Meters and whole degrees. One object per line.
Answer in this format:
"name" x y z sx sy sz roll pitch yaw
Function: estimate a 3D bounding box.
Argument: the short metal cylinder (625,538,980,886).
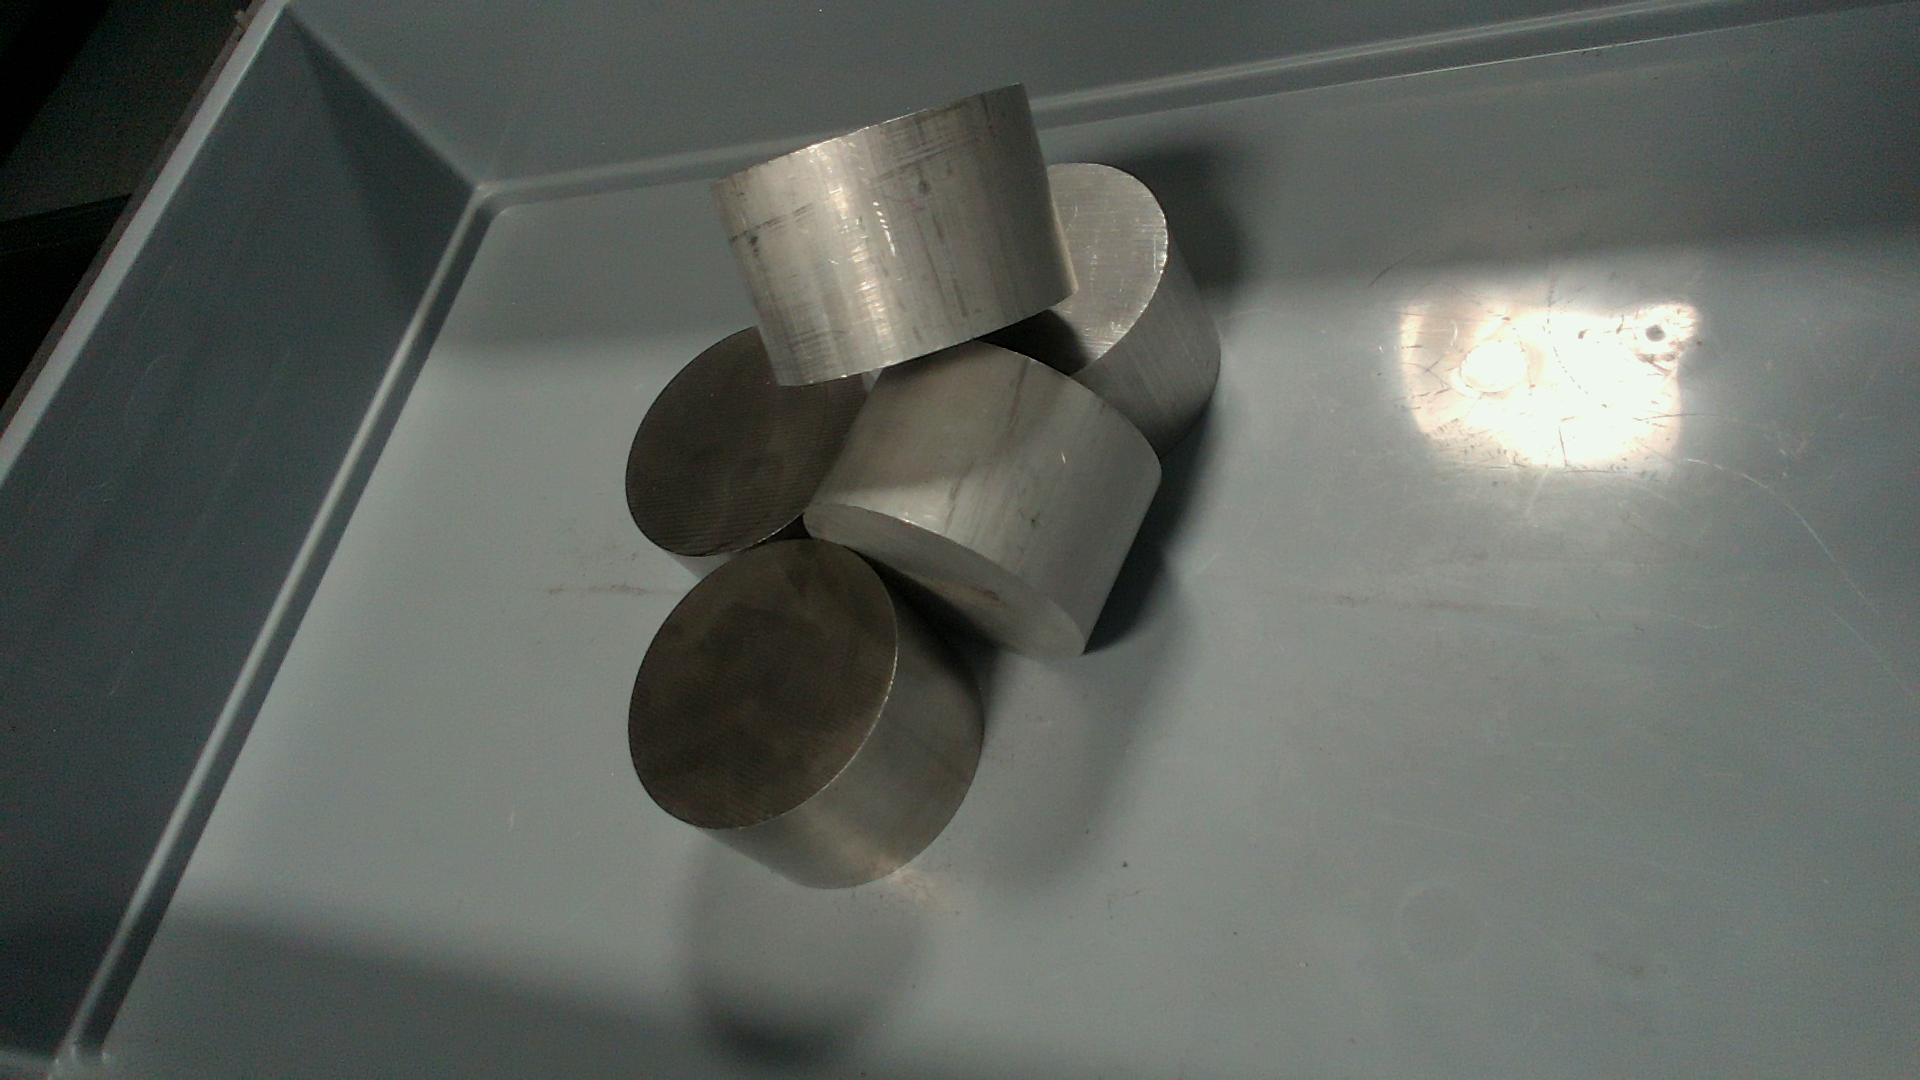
"short metal cylinder" -0.041 0.047 0.369 0.080 0.050 0.080 -14 56 21

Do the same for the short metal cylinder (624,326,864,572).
"short metal cylinder" -0.053 -0.019 0.416 0.080 0.050 0.080 -14 56 21

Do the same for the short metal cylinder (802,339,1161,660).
"short metal cylinder" 0.006 -0.010 0.360 0.080 0.080 0.050 14 69 34

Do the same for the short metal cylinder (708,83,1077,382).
"short metal cylinder" -0.016 -0.076 0.341 0.080 0.050 0.080 -16 15 5

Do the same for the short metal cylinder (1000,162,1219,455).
"short metal cylinder" 0.029 -0.061 0.398 0.080 0.050 0.080 -14 56 21
